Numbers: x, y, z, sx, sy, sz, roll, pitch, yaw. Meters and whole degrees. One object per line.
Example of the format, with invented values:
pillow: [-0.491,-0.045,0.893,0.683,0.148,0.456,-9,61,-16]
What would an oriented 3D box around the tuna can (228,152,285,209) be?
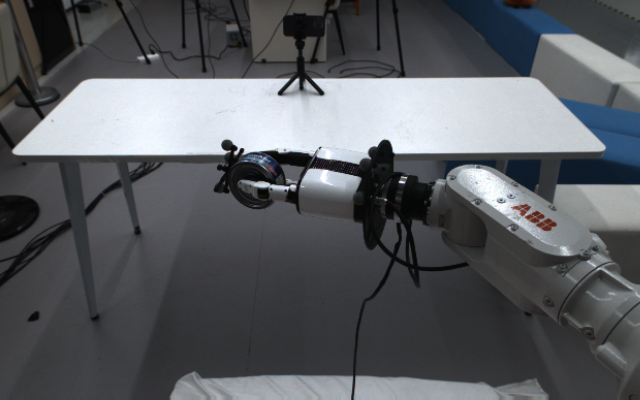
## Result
tuna can: [-0.097,-0.026,0.745,0.085,0.085,0.034,13,31,15]
